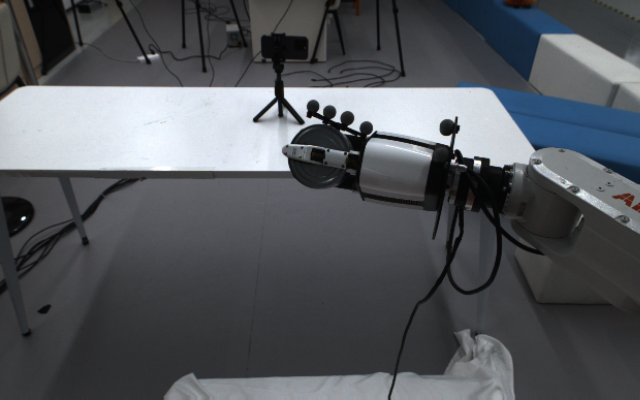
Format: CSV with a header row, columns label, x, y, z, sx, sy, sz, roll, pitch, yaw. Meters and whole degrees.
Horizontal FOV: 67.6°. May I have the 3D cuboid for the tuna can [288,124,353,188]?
label,x,y,z,sx,sy,sz,roll,pitch,yaw
tuna can,0.004,-0.059,0.650,0.085,0.085,0.034,13,2,16
